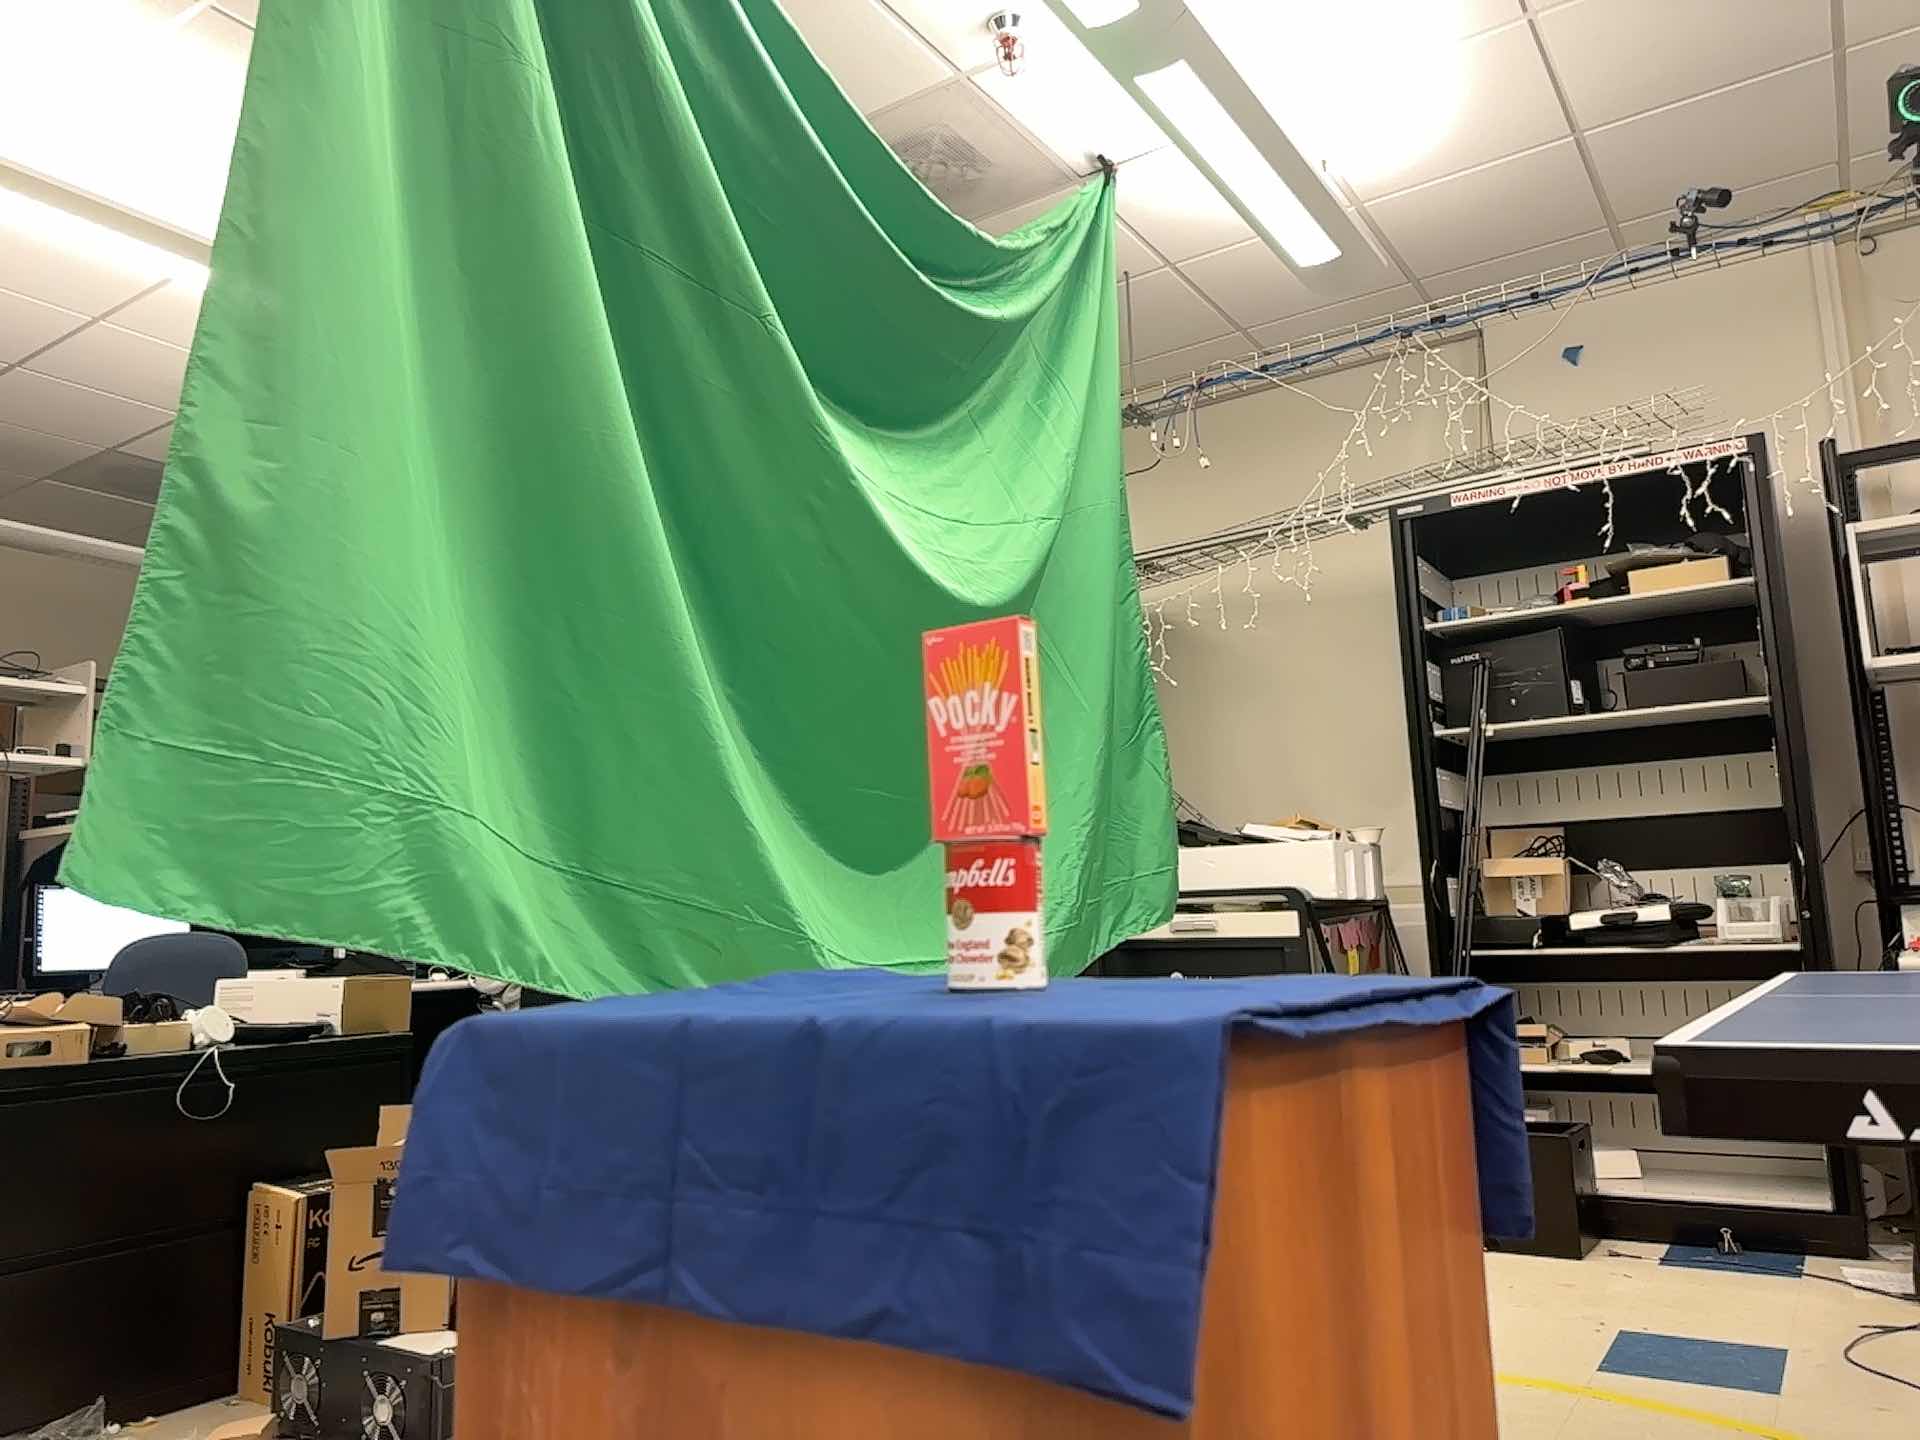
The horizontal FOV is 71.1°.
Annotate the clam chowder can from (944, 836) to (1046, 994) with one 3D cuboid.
[{"bbox_3d":[0.023,0.132,0.909,0.068,0.102,0.068,-1,-9,0],"label":"clam chowder can"}]

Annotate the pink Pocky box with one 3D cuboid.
[{"bbox_3d":[0.015,0.005,0.926,0.084,0.155,0.029,-9,-11,38],"label":"pink Pocky box"}]
